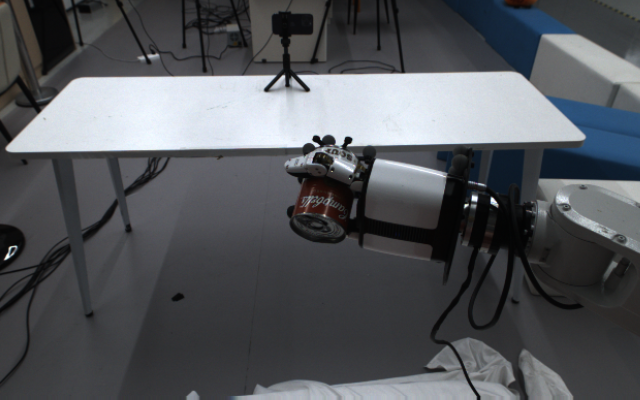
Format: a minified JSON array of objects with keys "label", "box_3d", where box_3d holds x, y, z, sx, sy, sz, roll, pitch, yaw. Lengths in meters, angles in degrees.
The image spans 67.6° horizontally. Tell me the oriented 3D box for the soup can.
[{"label":"soup can","box_3d":[0.010,-0.008,0.581,0.067,0.067,0.101,9,58,10]}]
